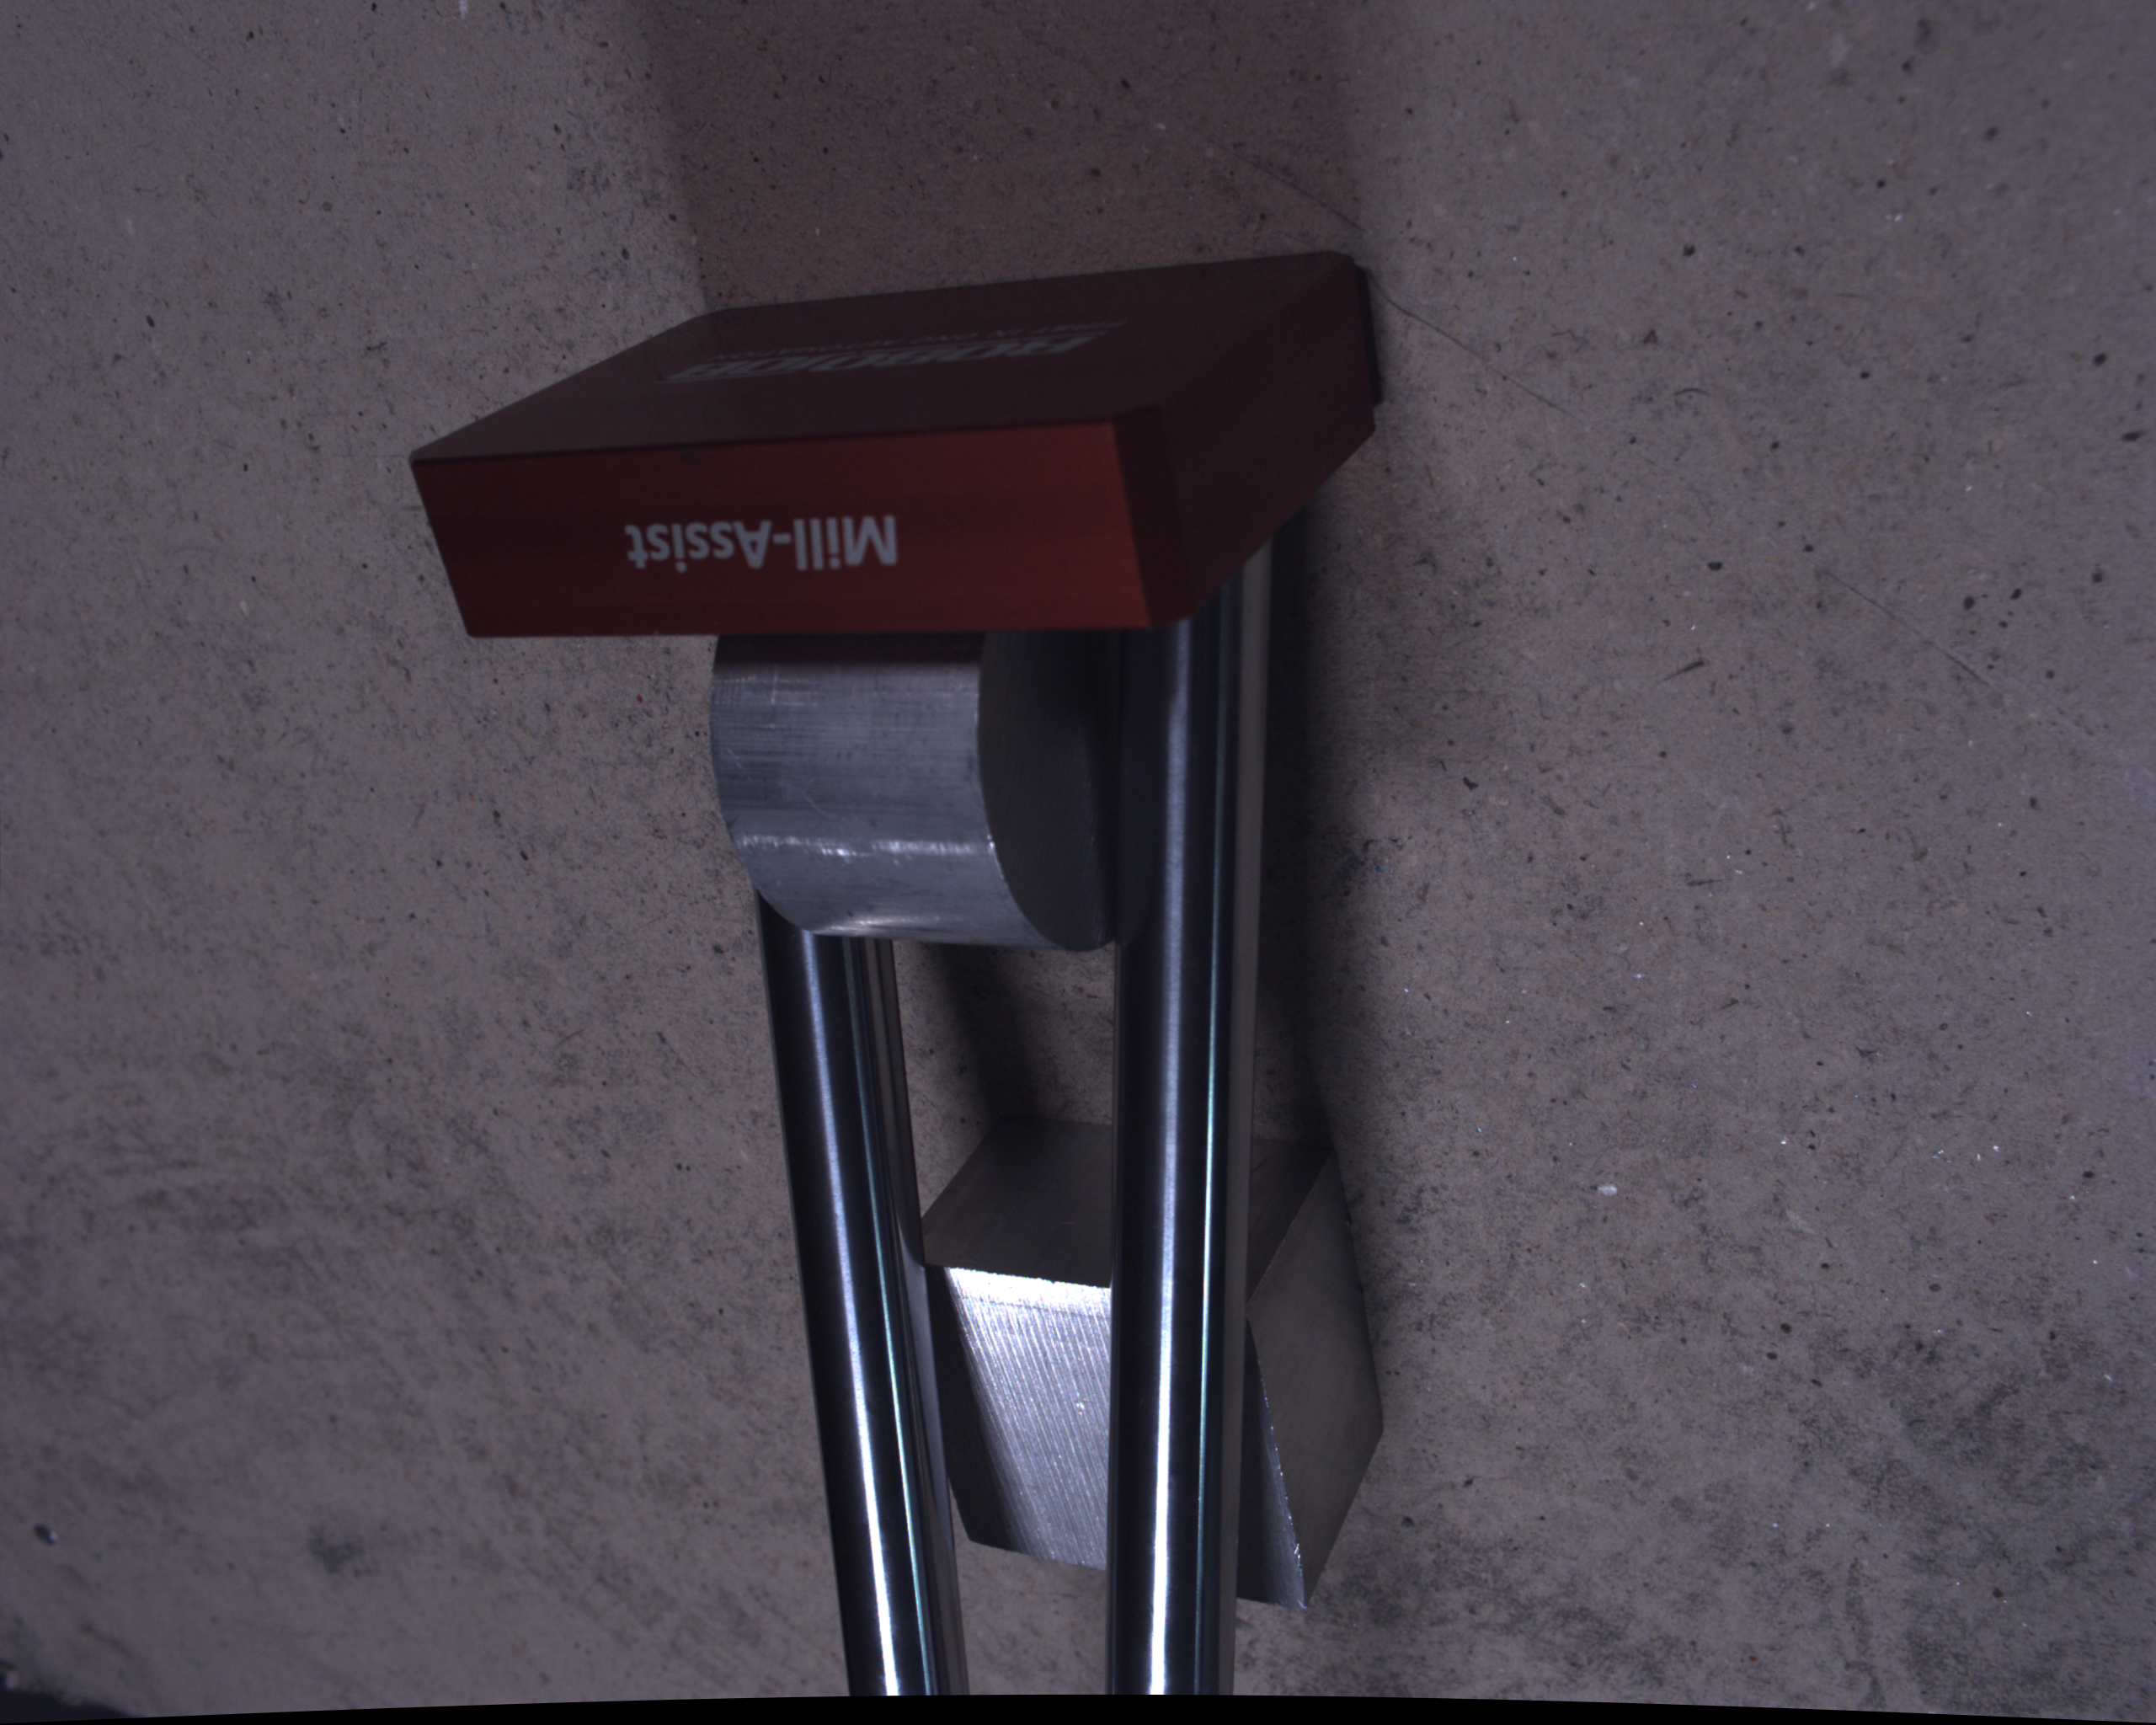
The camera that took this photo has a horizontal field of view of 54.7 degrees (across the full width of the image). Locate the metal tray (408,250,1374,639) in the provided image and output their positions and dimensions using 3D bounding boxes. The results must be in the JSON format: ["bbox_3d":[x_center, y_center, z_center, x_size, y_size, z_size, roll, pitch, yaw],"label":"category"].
[{"bbox_3d":[-0.028,-0.068,0.338,0.130,0.090,0.030,2,120,26],"label":"metal tray"}]

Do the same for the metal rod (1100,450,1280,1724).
[{"bbox_3d":[0.019,0.068,0.379,0.025,0.025,0.298,8,107,23],"label":"metal rod"}]

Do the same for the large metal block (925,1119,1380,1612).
[{"bbox_3d":[0.014,0.105,0.446,0.080,0.050,0.079,2,119,27],"label":"large metal block"}]

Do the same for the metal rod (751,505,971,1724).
[{"bbox_3d":[-0.045,0.064,0.411,0.025,0.025,0.298,2,104,27],"label":"metal rod"}]

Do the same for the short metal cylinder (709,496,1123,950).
[{"bbox_3d":[-0.020,-0.026,0.367,0.050,0.080,0.079,2,119,26],"label":"short metal cylinder"}]
